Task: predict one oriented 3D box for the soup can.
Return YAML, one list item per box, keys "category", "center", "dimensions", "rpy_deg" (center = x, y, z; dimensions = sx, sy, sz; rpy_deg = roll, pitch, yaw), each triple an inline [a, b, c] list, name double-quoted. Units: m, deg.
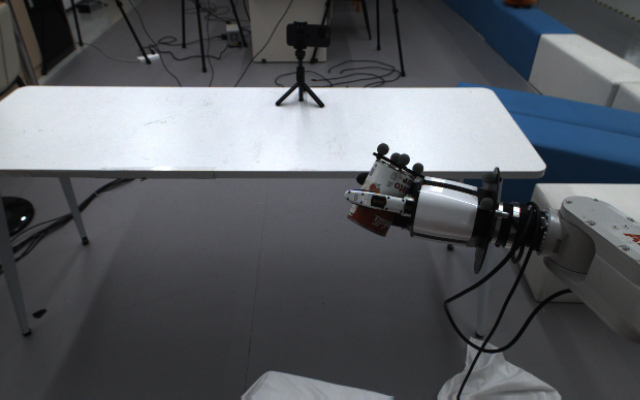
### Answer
- category: "soup can"
  center: [0.094, -0.004, 0.740]
  dimensions: [0.067, 0.101, 0.067]
  rpy_deg: [26, 6, -3]
